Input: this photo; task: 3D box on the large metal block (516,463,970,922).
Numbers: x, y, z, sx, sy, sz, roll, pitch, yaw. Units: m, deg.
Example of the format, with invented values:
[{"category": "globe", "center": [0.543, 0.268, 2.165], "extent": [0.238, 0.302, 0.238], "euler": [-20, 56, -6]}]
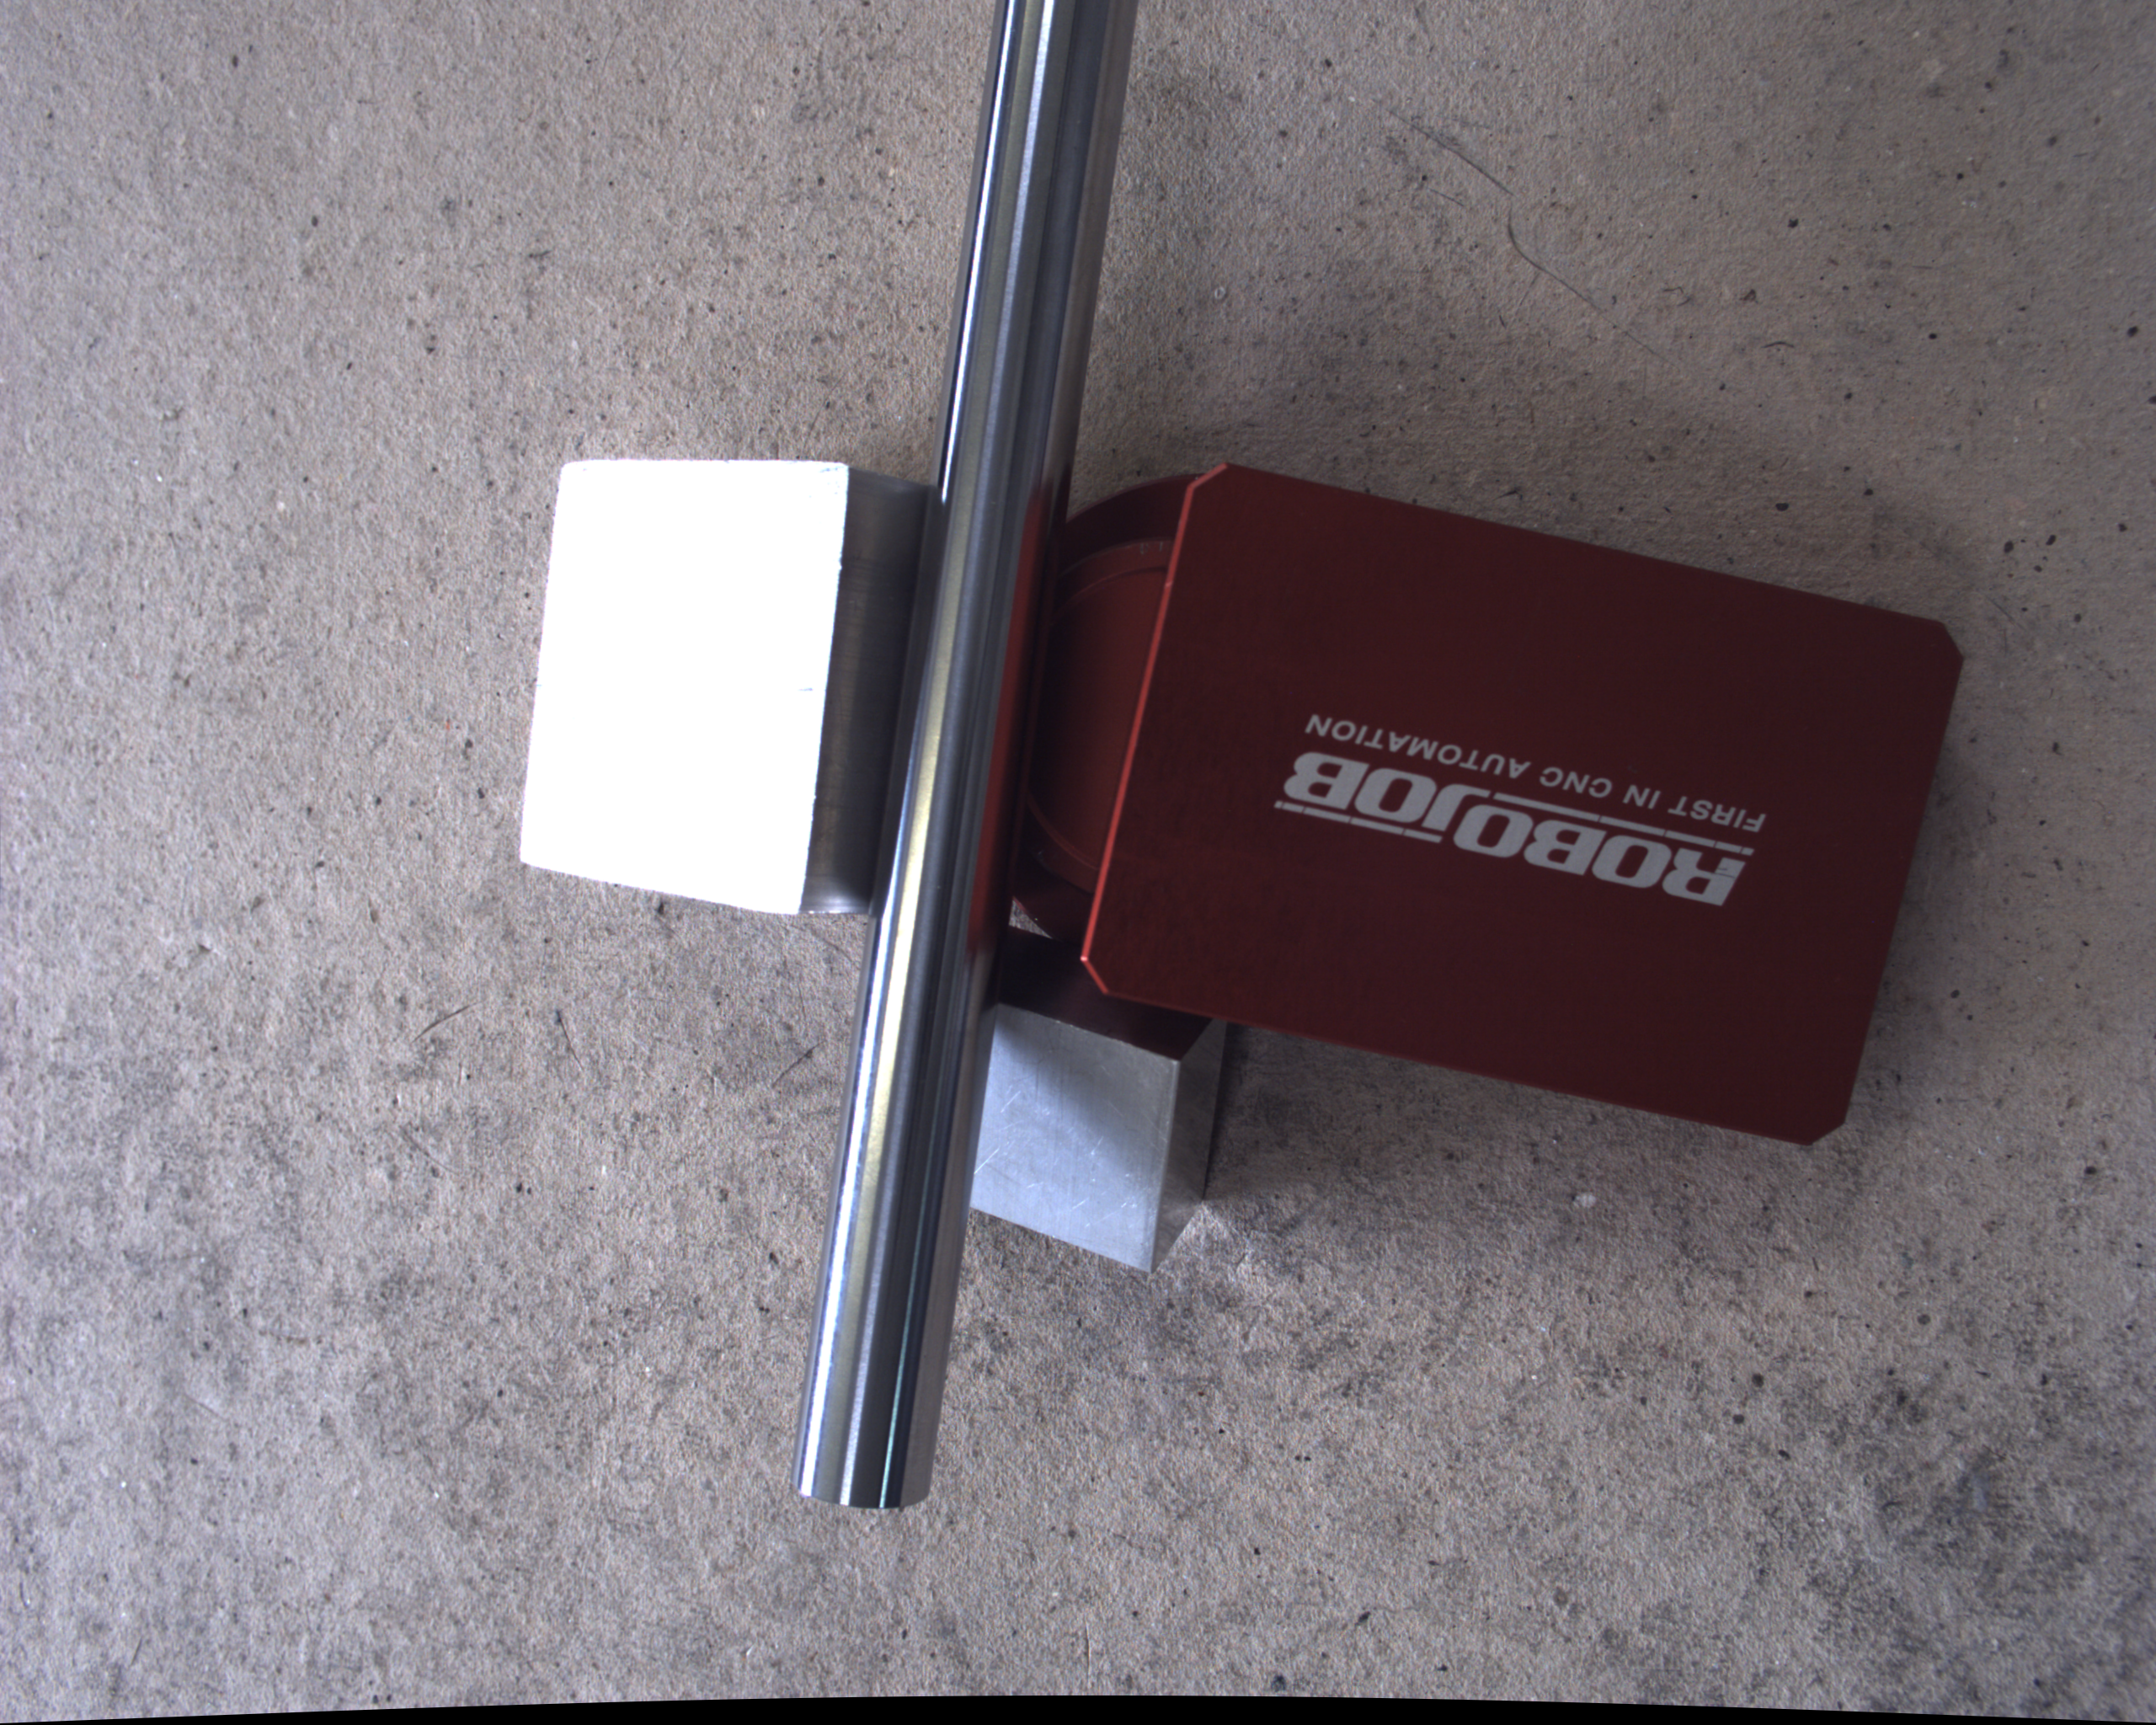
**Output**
[{"category": "large metal block", "center": [-0.059, -0.033, 0.406], "extent": [0.080, 0.050, 0.079], "euler": [9, 93, 38]}]

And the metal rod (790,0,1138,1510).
[{"category": "metal rod", "center": [-0.018, -0.036, 0.372], "extent": [0.025, 0.025, 0.298], "euler": [8, 91, 20]}]

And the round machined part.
[{"category": "round machined part", "center": [0.022, -0.025, 0.393], "extent": [0.098, 0.042, 0.097], "euler": [0, 90, 20]}]

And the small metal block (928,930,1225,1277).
[{"category": "small metal block", "center": [-0.002, 0.045, 0.400], "extent": [0.050, 0.025, 0.050], "euler": [17, 121, 19]}]

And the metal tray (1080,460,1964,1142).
[{"category": "metal tray", "center": [0.073, -0.011, 0.358], "extent": [0.131, 0.030, 0.089], "euler": [12, 95, -1]}]
